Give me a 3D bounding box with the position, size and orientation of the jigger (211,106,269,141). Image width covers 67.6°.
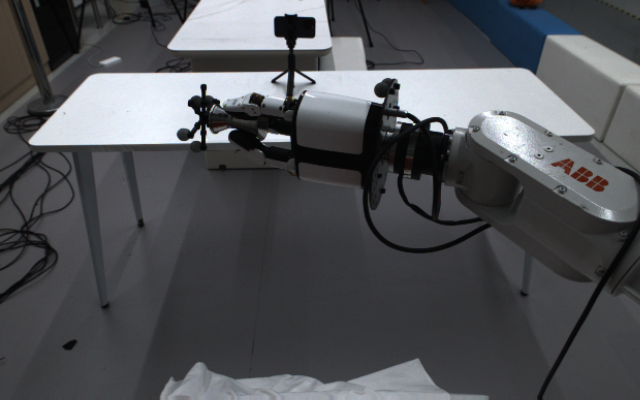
[{"bbox_3d":[-0.100,-0.108,0.637,0.071,0.043,0.043,7,35,12],"label":"jigger"}]
